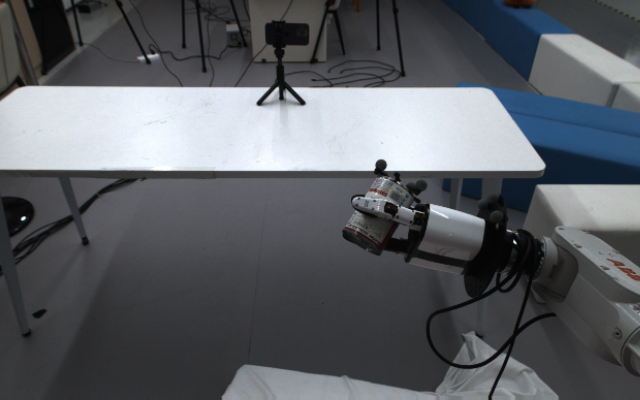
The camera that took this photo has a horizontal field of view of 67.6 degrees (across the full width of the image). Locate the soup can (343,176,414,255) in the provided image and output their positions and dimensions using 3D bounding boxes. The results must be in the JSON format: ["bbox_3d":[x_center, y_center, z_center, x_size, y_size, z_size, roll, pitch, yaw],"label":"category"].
[{"bbox_3d":[0.088,0.021,0.727,0.067,0.067,0.101,27,76,31],"label":"soup can"}]
